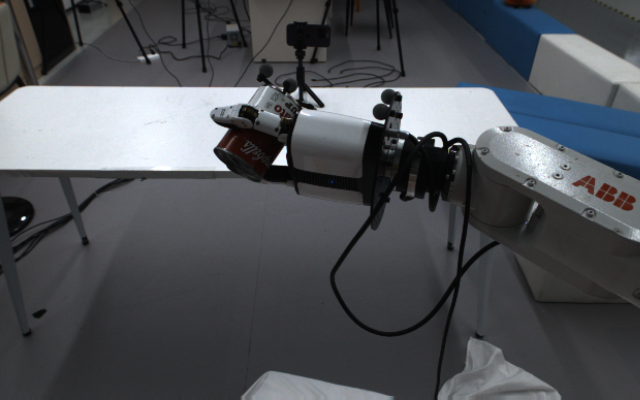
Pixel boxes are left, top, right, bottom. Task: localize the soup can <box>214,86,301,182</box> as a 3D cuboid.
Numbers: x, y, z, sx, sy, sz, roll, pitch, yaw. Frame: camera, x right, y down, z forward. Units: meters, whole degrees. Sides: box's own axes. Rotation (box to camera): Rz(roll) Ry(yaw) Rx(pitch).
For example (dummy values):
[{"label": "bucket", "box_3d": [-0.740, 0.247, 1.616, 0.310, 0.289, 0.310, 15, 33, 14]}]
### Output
[{"label": "soup can", "box_3d": [-0.072, -0.081, 0.589, 0.067, 0.067, 0.101, 24, 73, 28]}]
